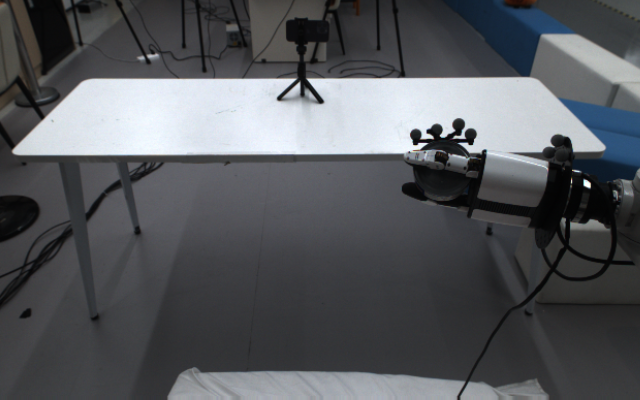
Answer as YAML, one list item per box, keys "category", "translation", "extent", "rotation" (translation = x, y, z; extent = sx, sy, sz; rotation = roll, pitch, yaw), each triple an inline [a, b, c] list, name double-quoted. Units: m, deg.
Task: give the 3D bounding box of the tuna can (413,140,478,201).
- category: "tuna can"
  translation: [0.181, -0.044, 0.712]
  extent: [0.085, 0.034, 0.085]
  rotation: [-4, 71, 11]
